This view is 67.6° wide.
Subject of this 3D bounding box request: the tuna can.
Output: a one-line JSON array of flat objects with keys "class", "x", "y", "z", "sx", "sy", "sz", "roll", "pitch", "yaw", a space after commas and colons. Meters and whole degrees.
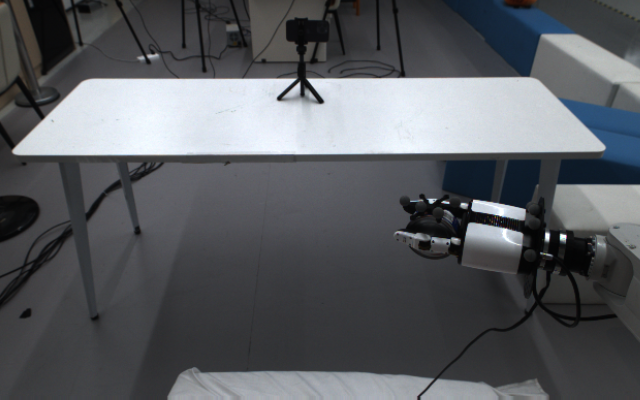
[{"class": "tuna can", "x": 0.186, "y": 0.052, "z": 0.792, "sx": 0.085, "sy": 0.085, "sz": 0.034, "roll": 15, "pitch": 35, "yaw": 17}]
